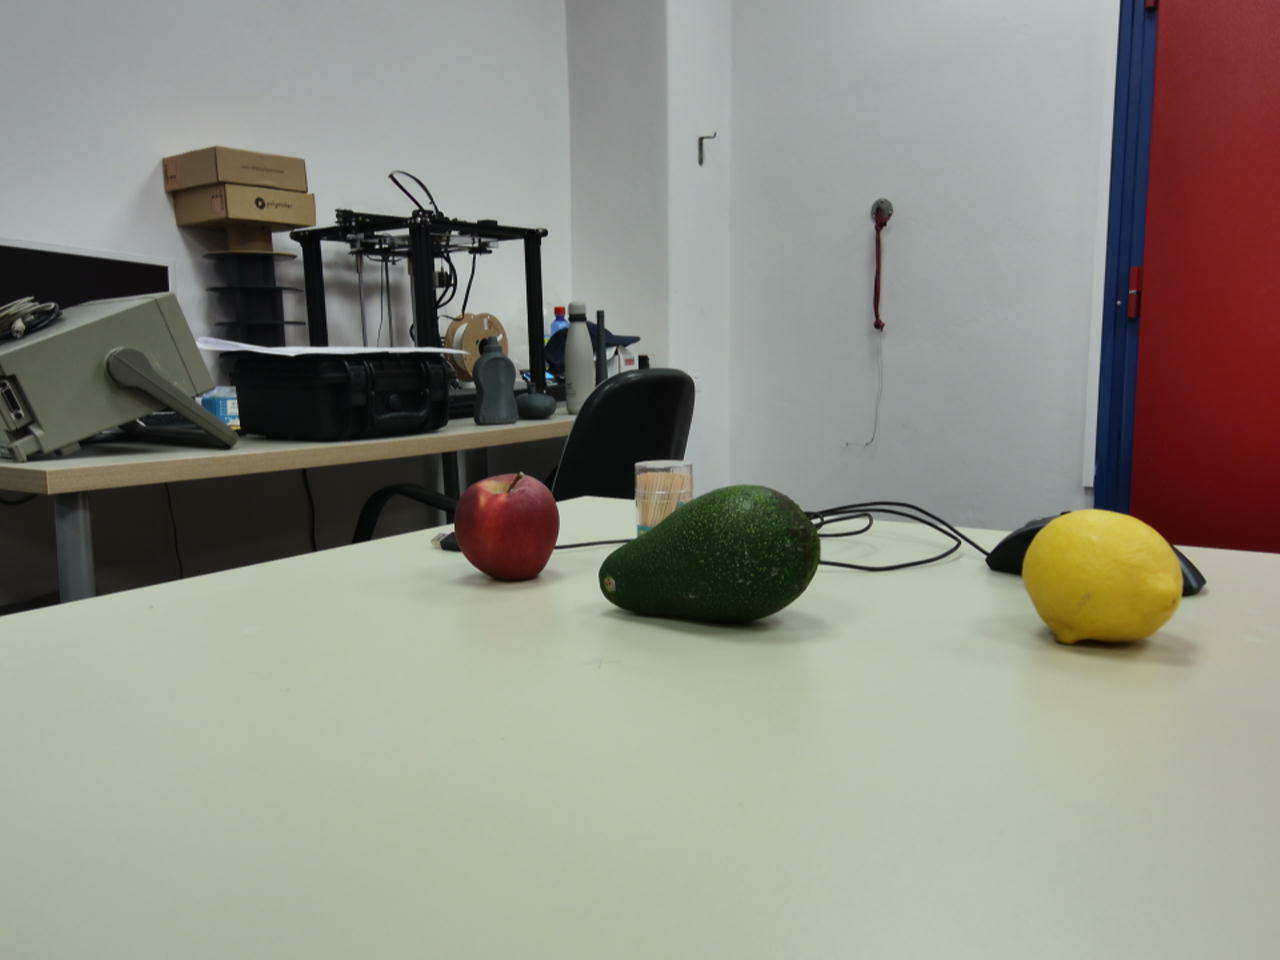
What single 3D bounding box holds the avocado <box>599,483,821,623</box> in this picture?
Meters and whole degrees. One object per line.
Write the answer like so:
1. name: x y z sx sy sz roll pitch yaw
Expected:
1. avocado: 0.043 0.039 0.553 0.123 0.076 0.074 5 7 42
